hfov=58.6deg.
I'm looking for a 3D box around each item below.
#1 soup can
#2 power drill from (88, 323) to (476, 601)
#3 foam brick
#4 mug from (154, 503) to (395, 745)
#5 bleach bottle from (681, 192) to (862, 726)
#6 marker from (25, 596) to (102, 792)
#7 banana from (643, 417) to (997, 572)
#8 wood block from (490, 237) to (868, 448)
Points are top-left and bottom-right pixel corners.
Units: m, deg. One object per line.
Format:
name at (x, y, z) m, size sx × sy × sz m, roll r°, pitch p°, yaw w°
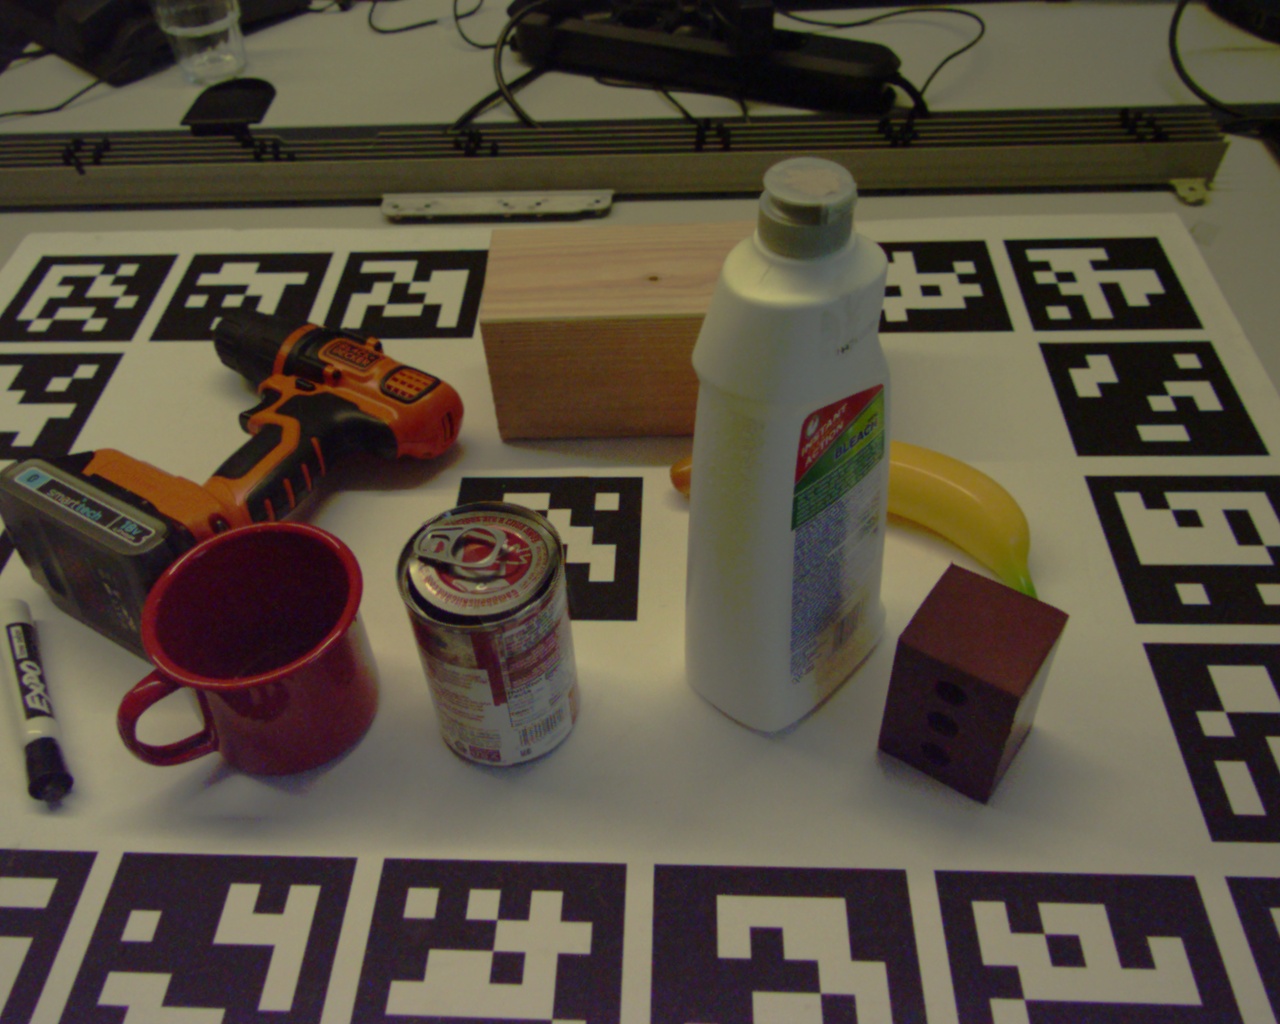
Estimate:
soup can at (-0.063, 0.049, 0.520) m, size 0.068 × 0.101 × 0.068 m, roll -1°, pitch 42°, yaw 0°
power drill at (-0.214, -0.029, 0.653) m, size 0.186 × 0.057 × 0.186 m, roll 24°, pitch 50°, yaw 20°
foam brick at (0.140, 0.075, 0.511) m, size 0.053 × 0.078 × 0.051 m, roll 25°, pitch 50°, yaw 27°
mug at (-0.172, 0.063, 0.535) m, size 0.116 × 0.081 × 0.094 m, roll -38°, pitch 57°, yaw -25°
bleach bottle at (0.060, -0.020, 0.486) m, size 0.068 × 0.249 × 0.102 m, roll 22°, pitch 49°, yaw 23°
marker at (-0.286, 0.089, 0.565) m, size 0.019 × 0.019 × 0.122 m, roll -24°, pitch 50°, yaw -16°
banana at (0.101, -0.022, 0.629) m, size 0.198 × 0.038 × 0.074 m, roll 13°, pitch 61°, yaw 13°
wood block at (0.022, -0.101, 0.681) m, size 0.206 × 0.090 × 0.090 m, roll -1°, pitch 47°, yaw 3°
